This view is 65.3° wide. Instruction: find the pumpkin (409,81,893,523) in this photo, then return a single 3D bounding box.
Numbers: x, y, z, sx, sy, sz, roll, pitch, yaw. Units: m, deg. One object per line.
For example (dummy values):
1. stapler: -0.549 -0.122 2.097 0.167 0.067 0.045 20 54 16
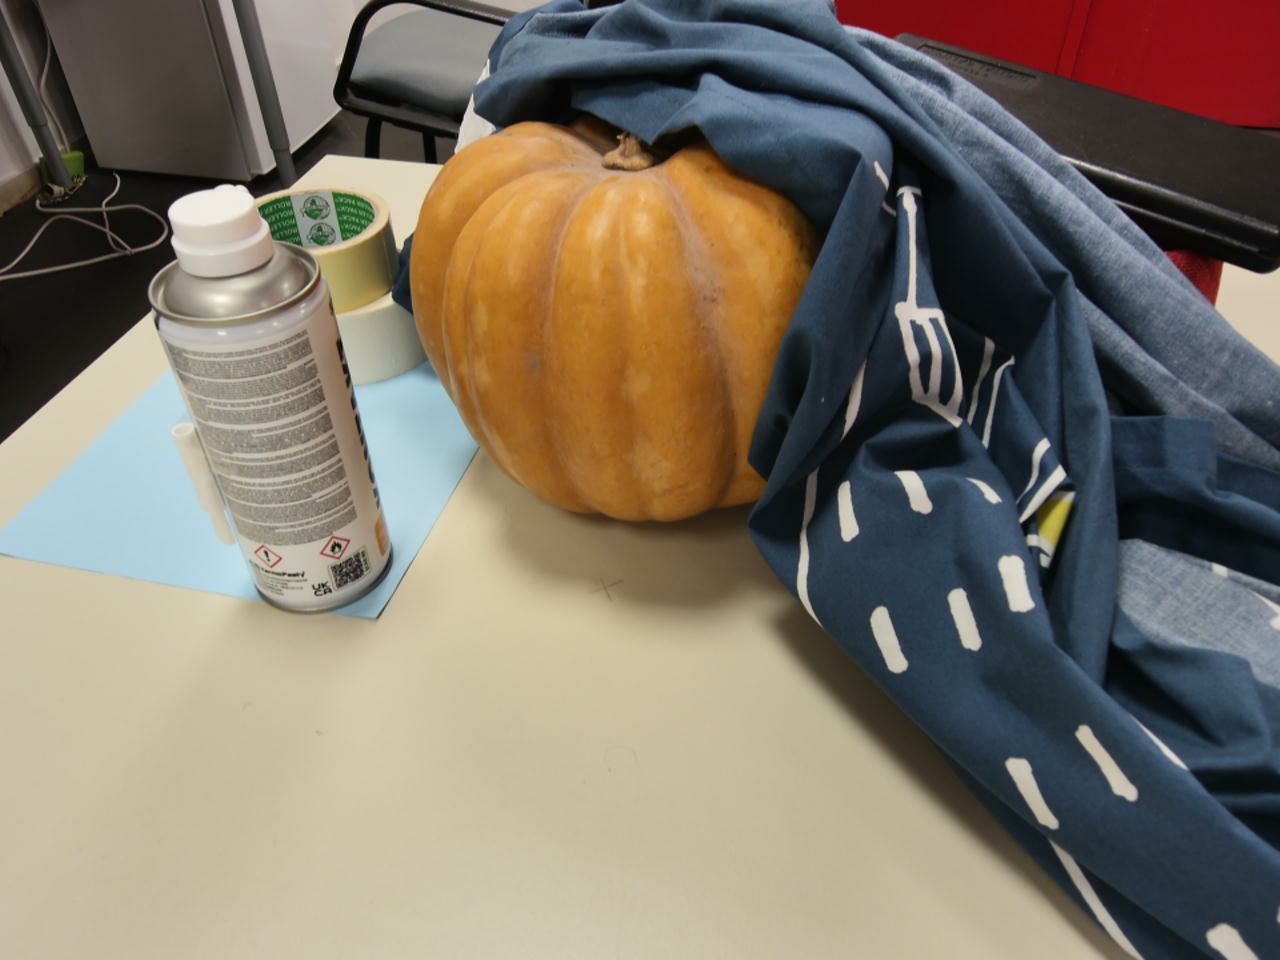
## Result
1. pumpkin: 0.009 -0.085 0.487 0.230 0.194 0.230 0 39 0
